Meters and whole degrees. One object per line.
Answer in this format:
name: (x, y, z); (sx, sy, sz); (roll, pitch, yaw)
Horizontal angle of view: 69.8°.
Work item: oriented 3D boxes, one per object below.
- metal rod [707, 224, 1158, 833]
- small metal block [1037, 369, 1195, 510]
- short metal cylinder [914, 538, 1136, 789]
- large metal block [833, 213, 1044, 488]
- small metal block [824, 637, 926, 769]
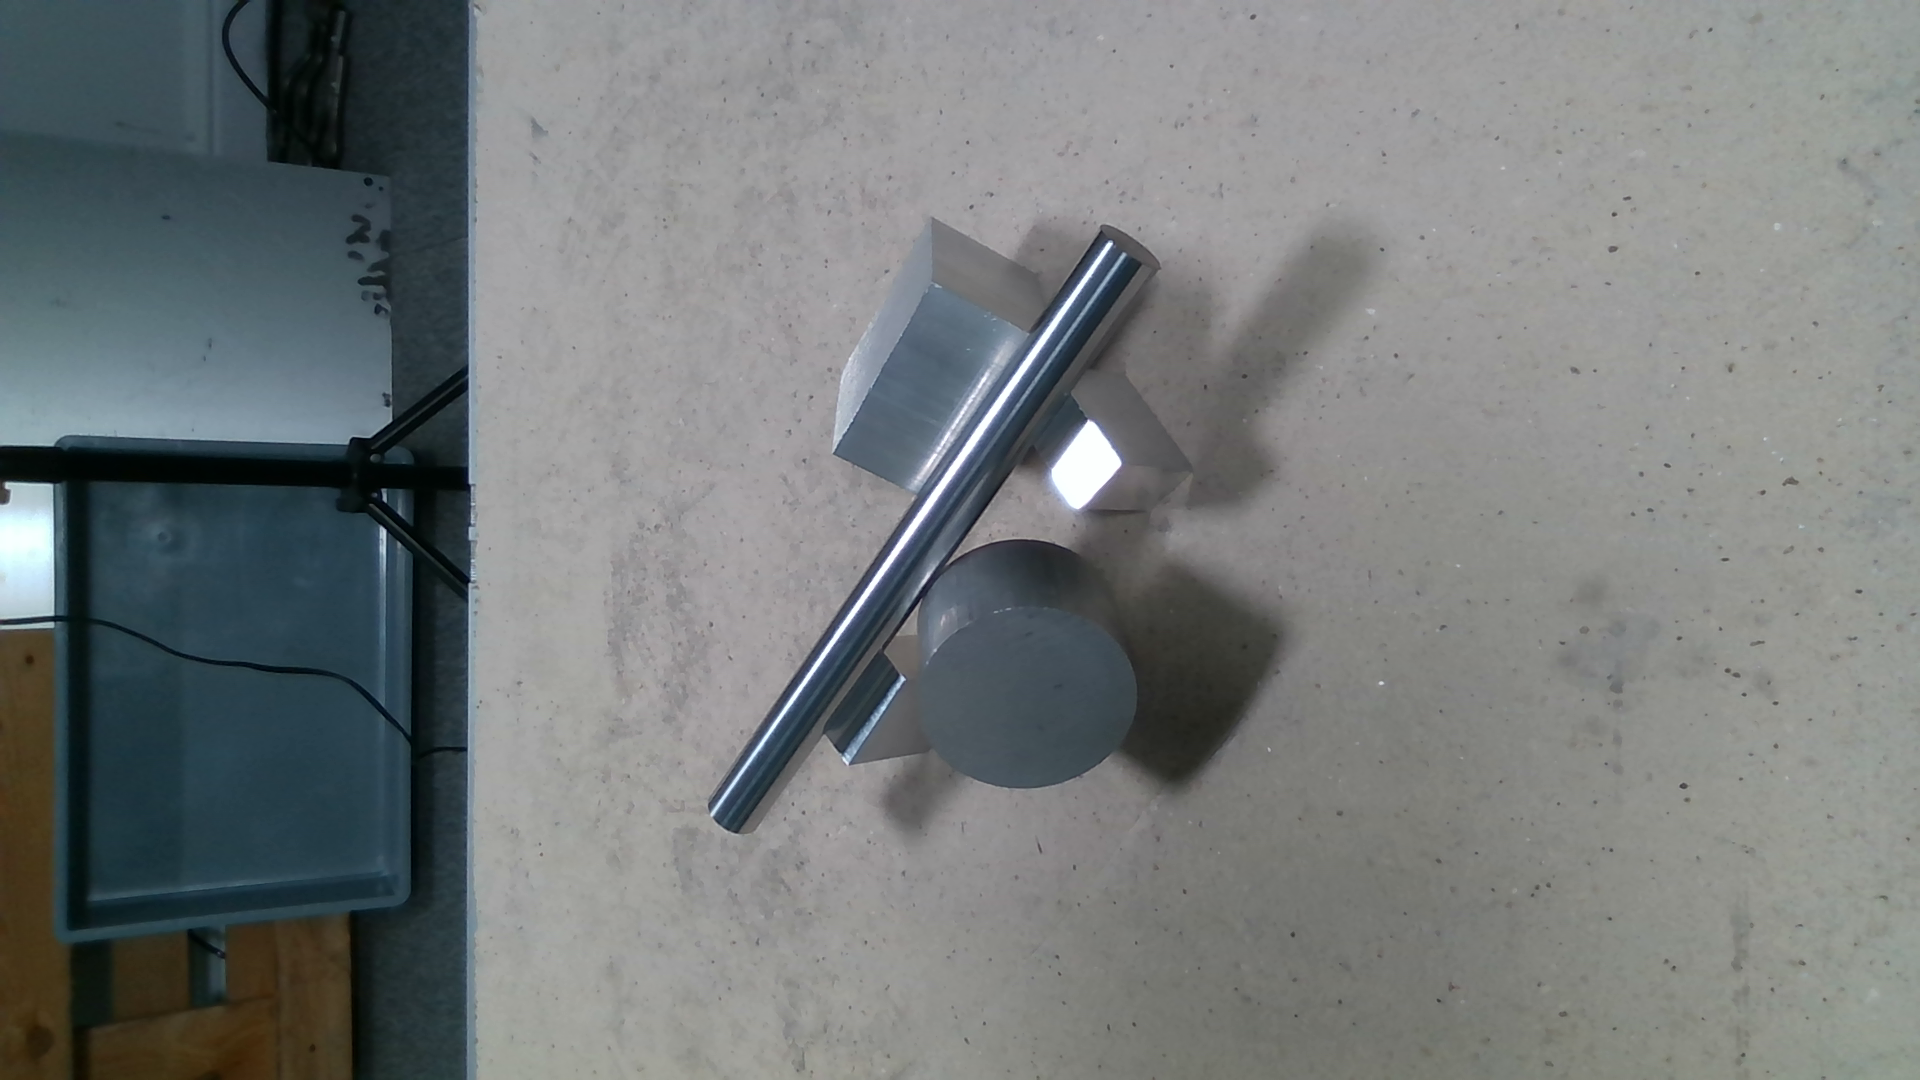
metal rod: (-0.021, 0.009, 0.535); (0.025, 0.025, 0.301); (51, 120, 28)
small metal block: (0.054, -0.038, 0.520); (0.025, 0.050, 0.050); (-47, 62, 30)
short metal cylinder: (0.023, 0.046, 0.519); (0.080, 0.080, 0.050); (-59, 15, 24)
large metal block: (-0.008, -0.074, 0.549); (0.080, 0.050, 0.080); (-57, 17, 25)
small metal block: (-0.028, 0.068, 0.586); (0.025, 0.050, 0.050); (49, 119, 29)
